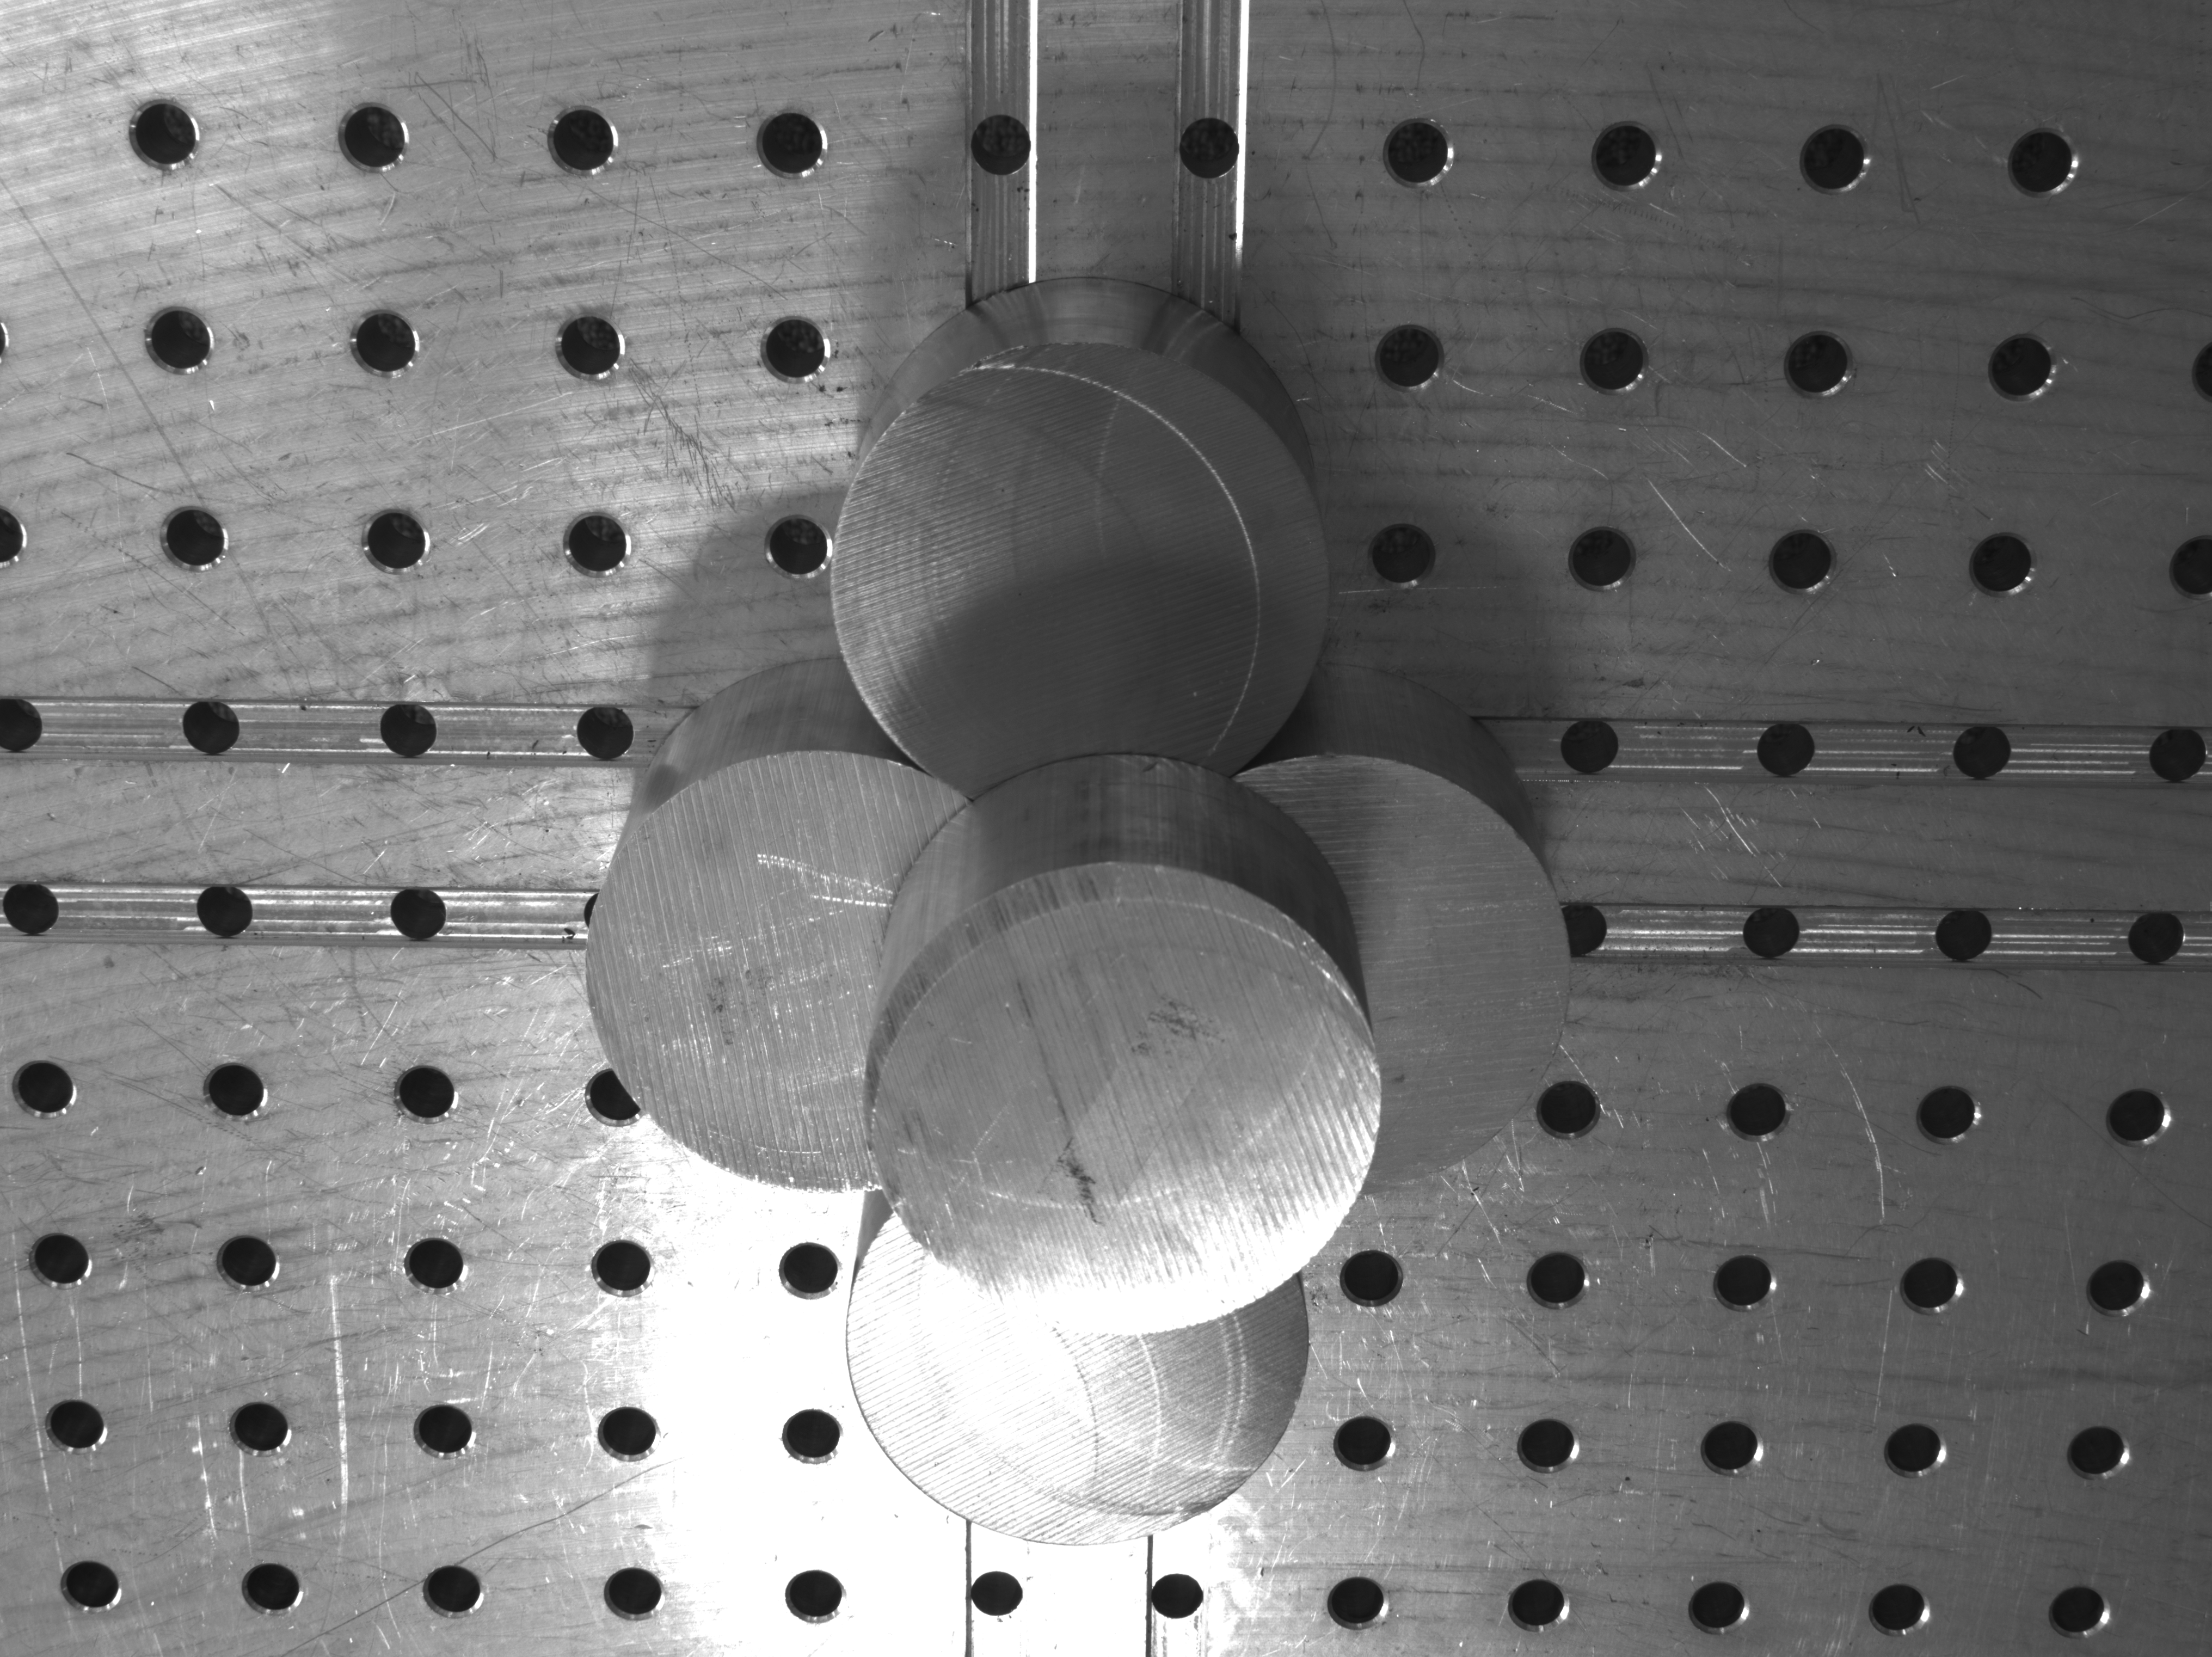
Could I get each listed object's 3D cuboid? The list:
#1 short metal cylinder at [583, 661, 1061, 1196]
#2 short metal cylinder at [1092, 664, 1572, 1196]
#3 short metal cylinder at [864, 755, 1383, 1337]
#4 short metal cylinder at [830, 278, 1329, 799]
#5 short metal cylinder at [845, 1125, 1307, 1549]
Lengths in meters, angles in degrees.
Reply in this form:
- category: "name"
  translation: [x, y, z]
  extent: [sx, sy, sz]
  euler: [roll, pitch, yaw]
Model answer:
- category: "short metal cylinder"
  translation: [-0.047, 0.017, 0.639]
  extent: [0.080, 0.050, 0.080]
  euler: [0, 110, 0]
- category: "short metal cylinder"
  translation: [0.038, 0.017, 0.639]
  extent: [0.080, 0.050, 0.080]
  euler: [0, 110, 0]
- category: "short metal cylinder"
  translation: [0.003, 0.034, 0.591]
  extent: [0.080, 0.050, 0.080]
  euler: [0, 110, 0]
- category: "short metal cylinder"
  translation: [-0.005, -0.047, 0.615]
  extent: [0.080, 0.050, 0.080]
  euler: [0, 110, -1]
- category: "short metal cylinder"
  translation: [-0.005, 0.081, 0.662]
  extent: [0.080, 0.050, 0.080]
  euler: [0, 108, 0]
